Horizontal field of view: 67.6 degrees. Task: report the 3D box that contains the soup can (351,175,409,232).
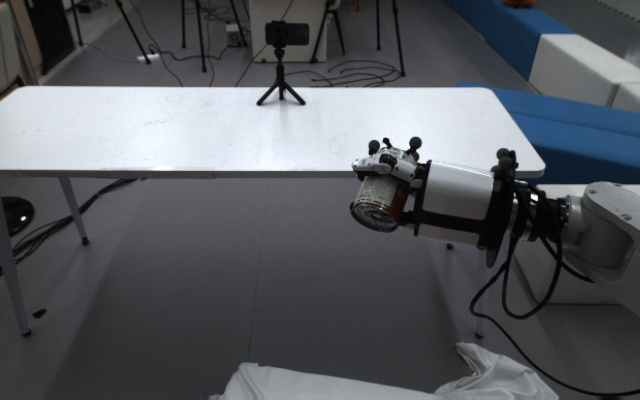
[{"bbox_3d":[0.092,-0.017,0.679,0.067,0.067,0.101,15,62,18],"label":"soup can"}]
